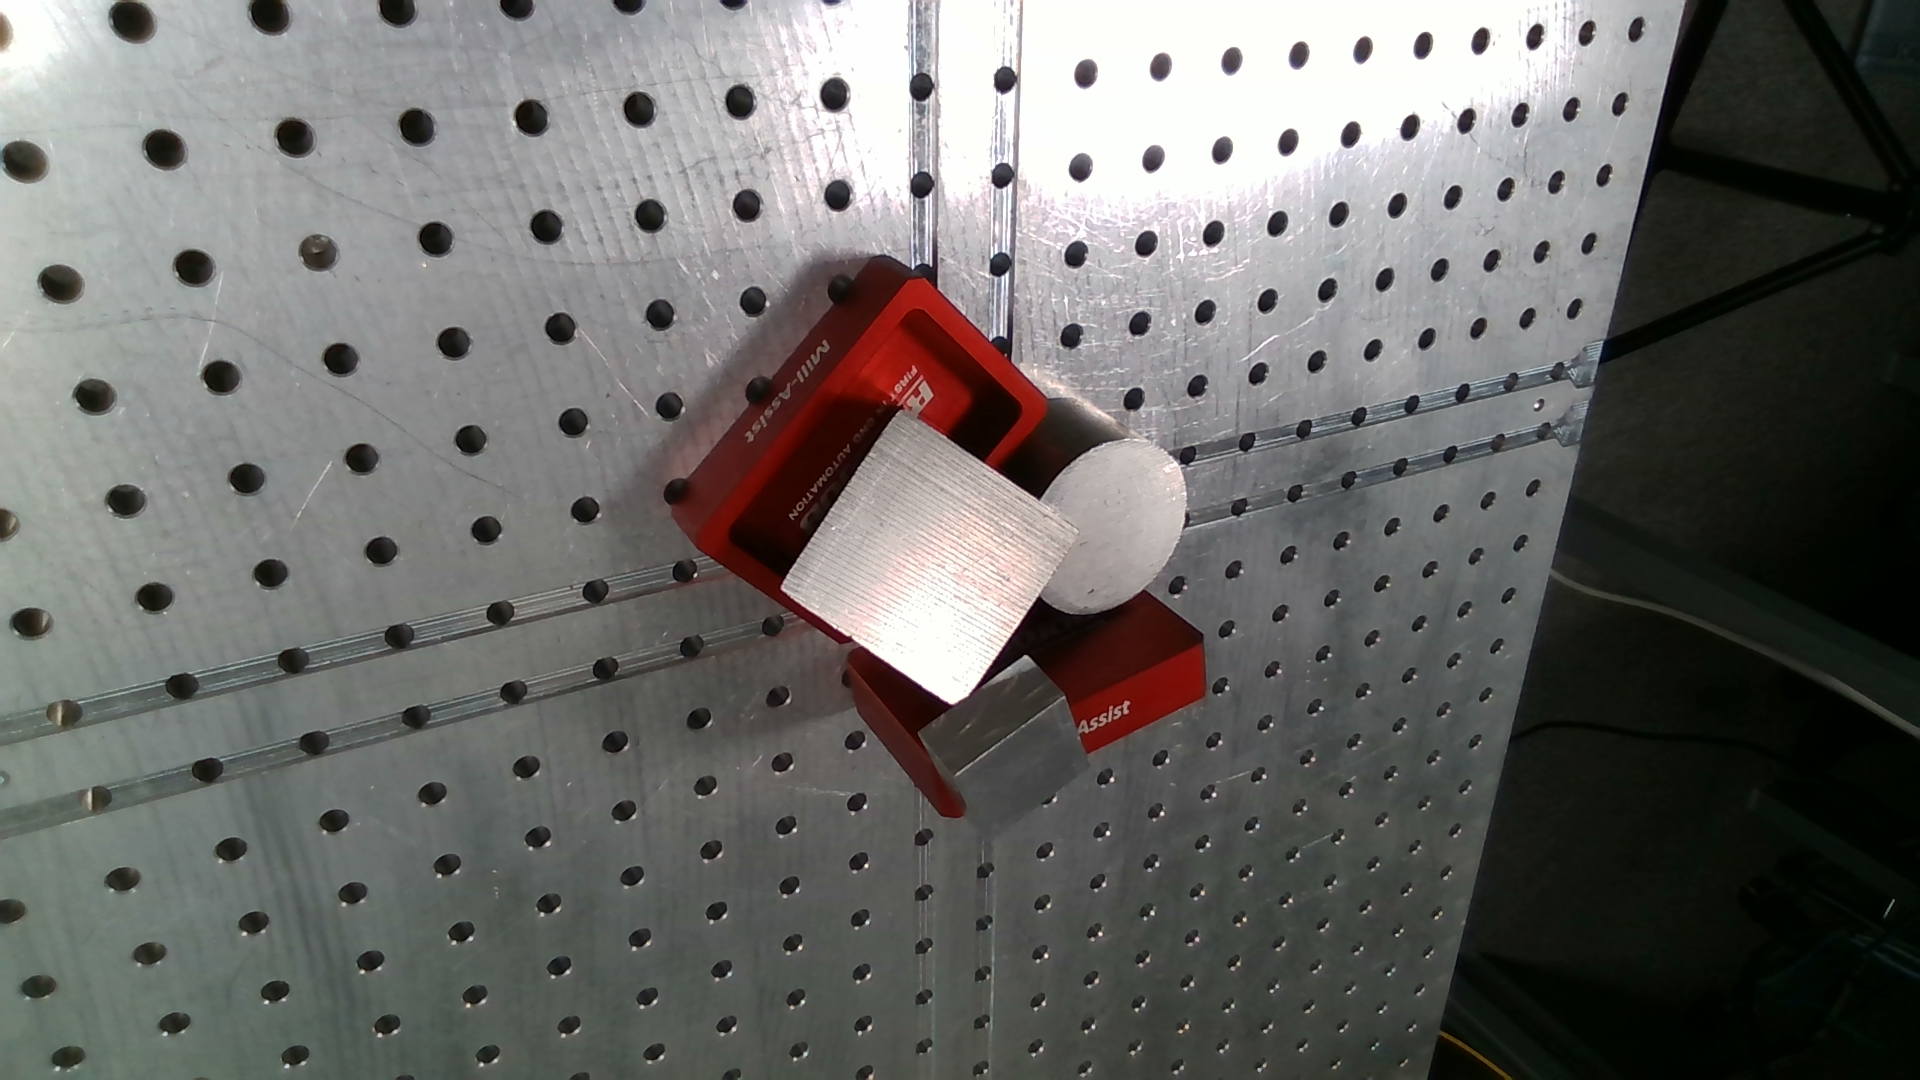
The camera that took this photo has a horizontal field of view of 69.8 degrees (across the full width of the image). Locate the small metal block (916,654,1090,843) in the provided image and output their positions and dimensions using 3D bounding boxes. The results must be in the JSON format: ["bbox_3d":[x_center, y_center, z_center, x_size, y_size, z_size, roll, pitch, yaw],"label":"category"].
[{"bbox_3d":[0.017,0.079,0.515,0.050,0.025,0.050,-34,139,-11],"label":"small metal block"}]

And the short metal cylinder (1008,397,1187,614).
[{"bbox_3d":[0.050,-0.015,0.590,0.080,0.050,0.080,-14,122,-25],"label":"short metal cylinder"}]

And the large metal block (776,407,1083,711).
[{"bbox_3d":[-0.011,0.005,0.523,0.080,0.050,0.080,34,96,-3],"label":"large metal block"}]

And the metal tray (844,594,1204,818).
[{"bbox_3d":[0.028,0.058,0.590,0.130,0.090,0.030,-23,125,-20],"label":"metal tray"}]

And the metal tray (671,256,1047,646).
[{"bbox_3d":[-0.037,-0.033,0.538,0.130,0.030,0.090,-50,129,1],"label":"metal tray"}]
